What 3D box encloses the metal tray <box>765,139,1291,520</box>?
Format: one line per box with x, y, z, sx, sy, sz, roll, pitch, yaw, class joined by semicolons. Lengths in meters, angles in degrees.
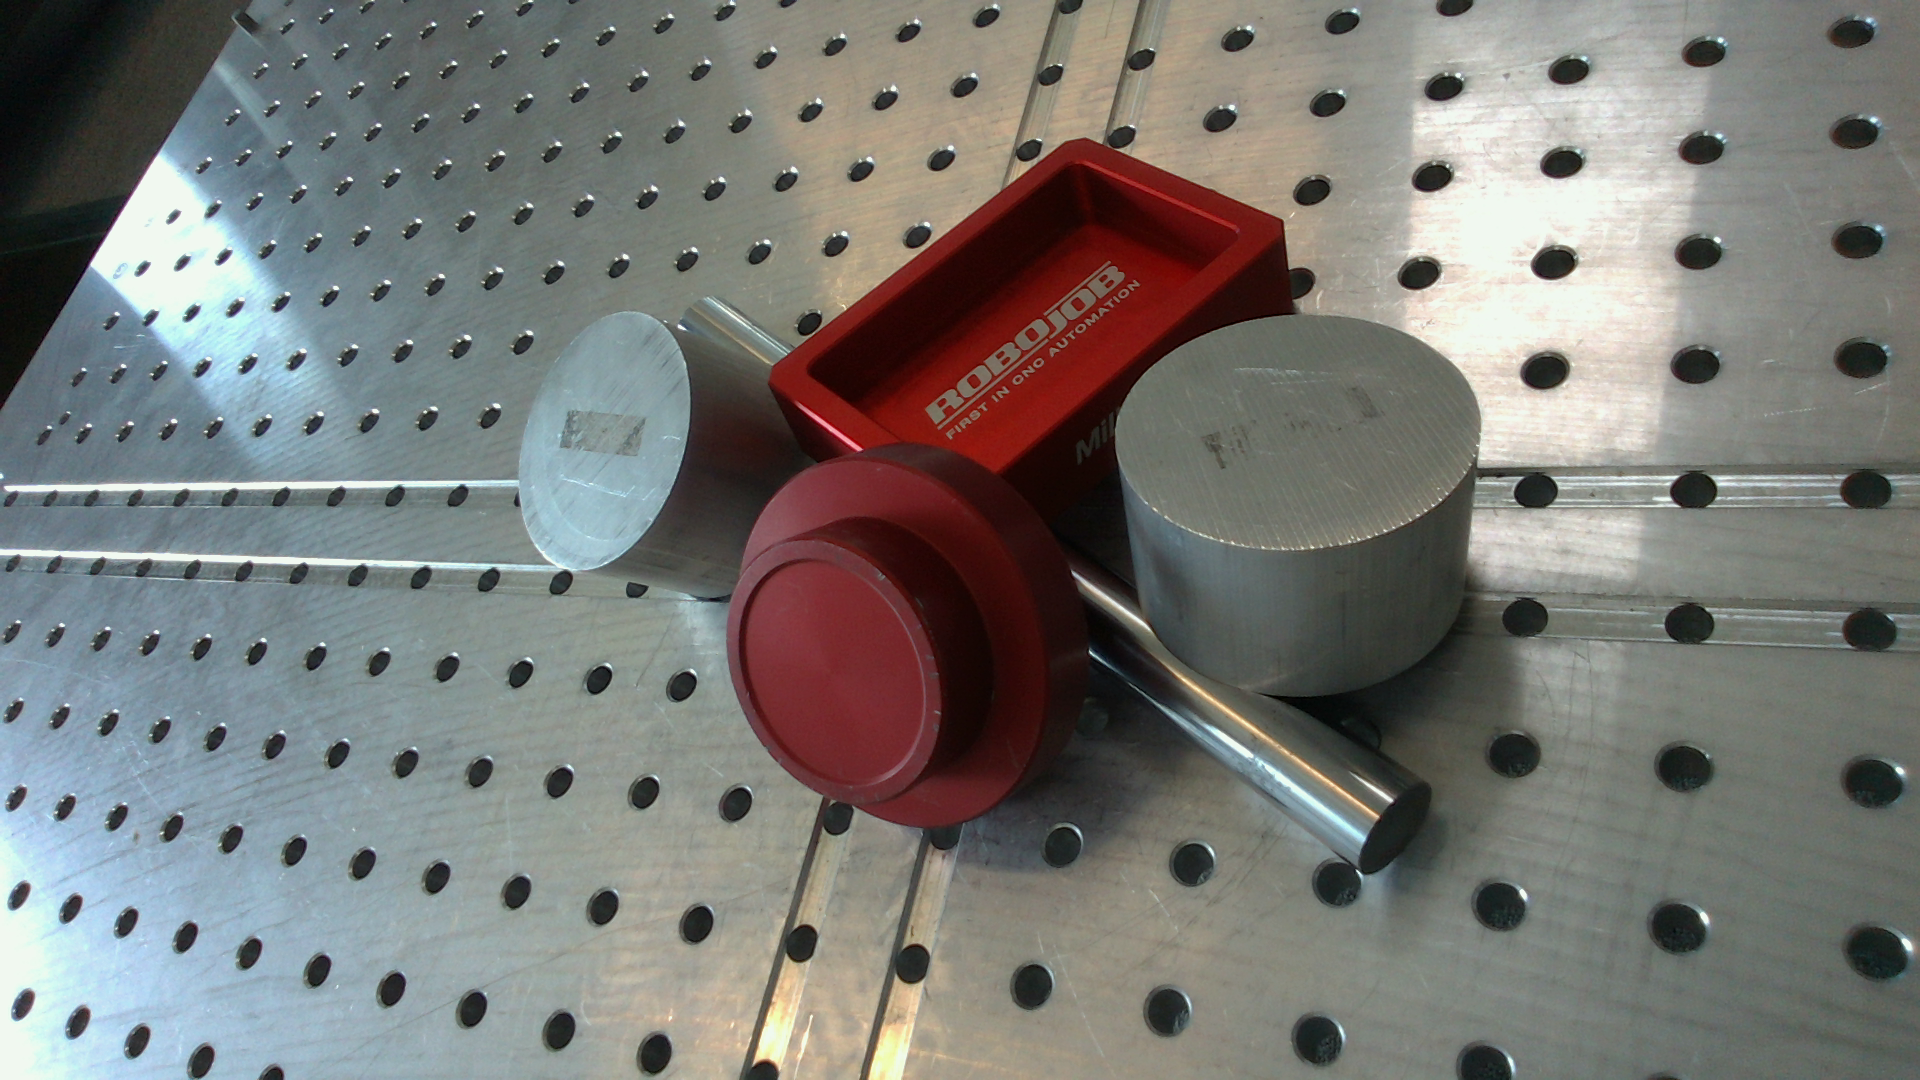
0.020;-0.059;0.400;0.130;0.030;0.090;-40;49;-16;metal tray

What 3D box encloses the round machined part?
-0.021;0.027;0.345;0.098;0.042;0.098;11;110;32;round machined part

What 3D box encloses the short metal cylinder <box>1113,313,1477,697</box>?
0.079;-0.010;0.329;0.080;0.050;0.080;-7;44;7;short metal cylinder

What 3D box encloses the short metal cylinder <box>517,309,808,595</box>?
-0.093;-0.026;0.432;0.080;0.050;0.080;-11;72;36;short metal cylinder

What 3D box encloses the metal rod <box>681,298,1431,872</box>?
0.003;-0.006;0.399;0.025;0.025;0.299;-49;51;-6;metal rod
